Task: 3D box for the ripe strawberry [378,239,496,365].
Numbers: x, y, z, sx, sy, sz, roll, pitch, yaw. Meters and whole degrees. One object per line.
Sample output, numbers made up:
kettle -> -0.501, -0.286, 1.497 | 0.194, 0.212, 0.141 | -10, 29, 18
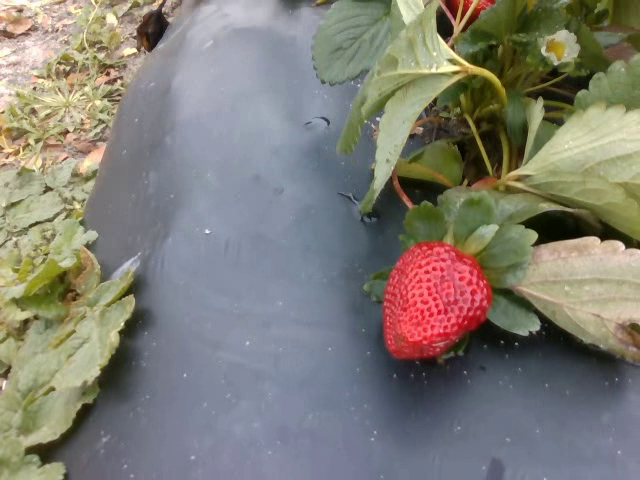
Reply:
ripe strawberry -> 0.038, 0.025, 0.235 | 0.046, 0.049, 0.064 | -41, -4, 38
